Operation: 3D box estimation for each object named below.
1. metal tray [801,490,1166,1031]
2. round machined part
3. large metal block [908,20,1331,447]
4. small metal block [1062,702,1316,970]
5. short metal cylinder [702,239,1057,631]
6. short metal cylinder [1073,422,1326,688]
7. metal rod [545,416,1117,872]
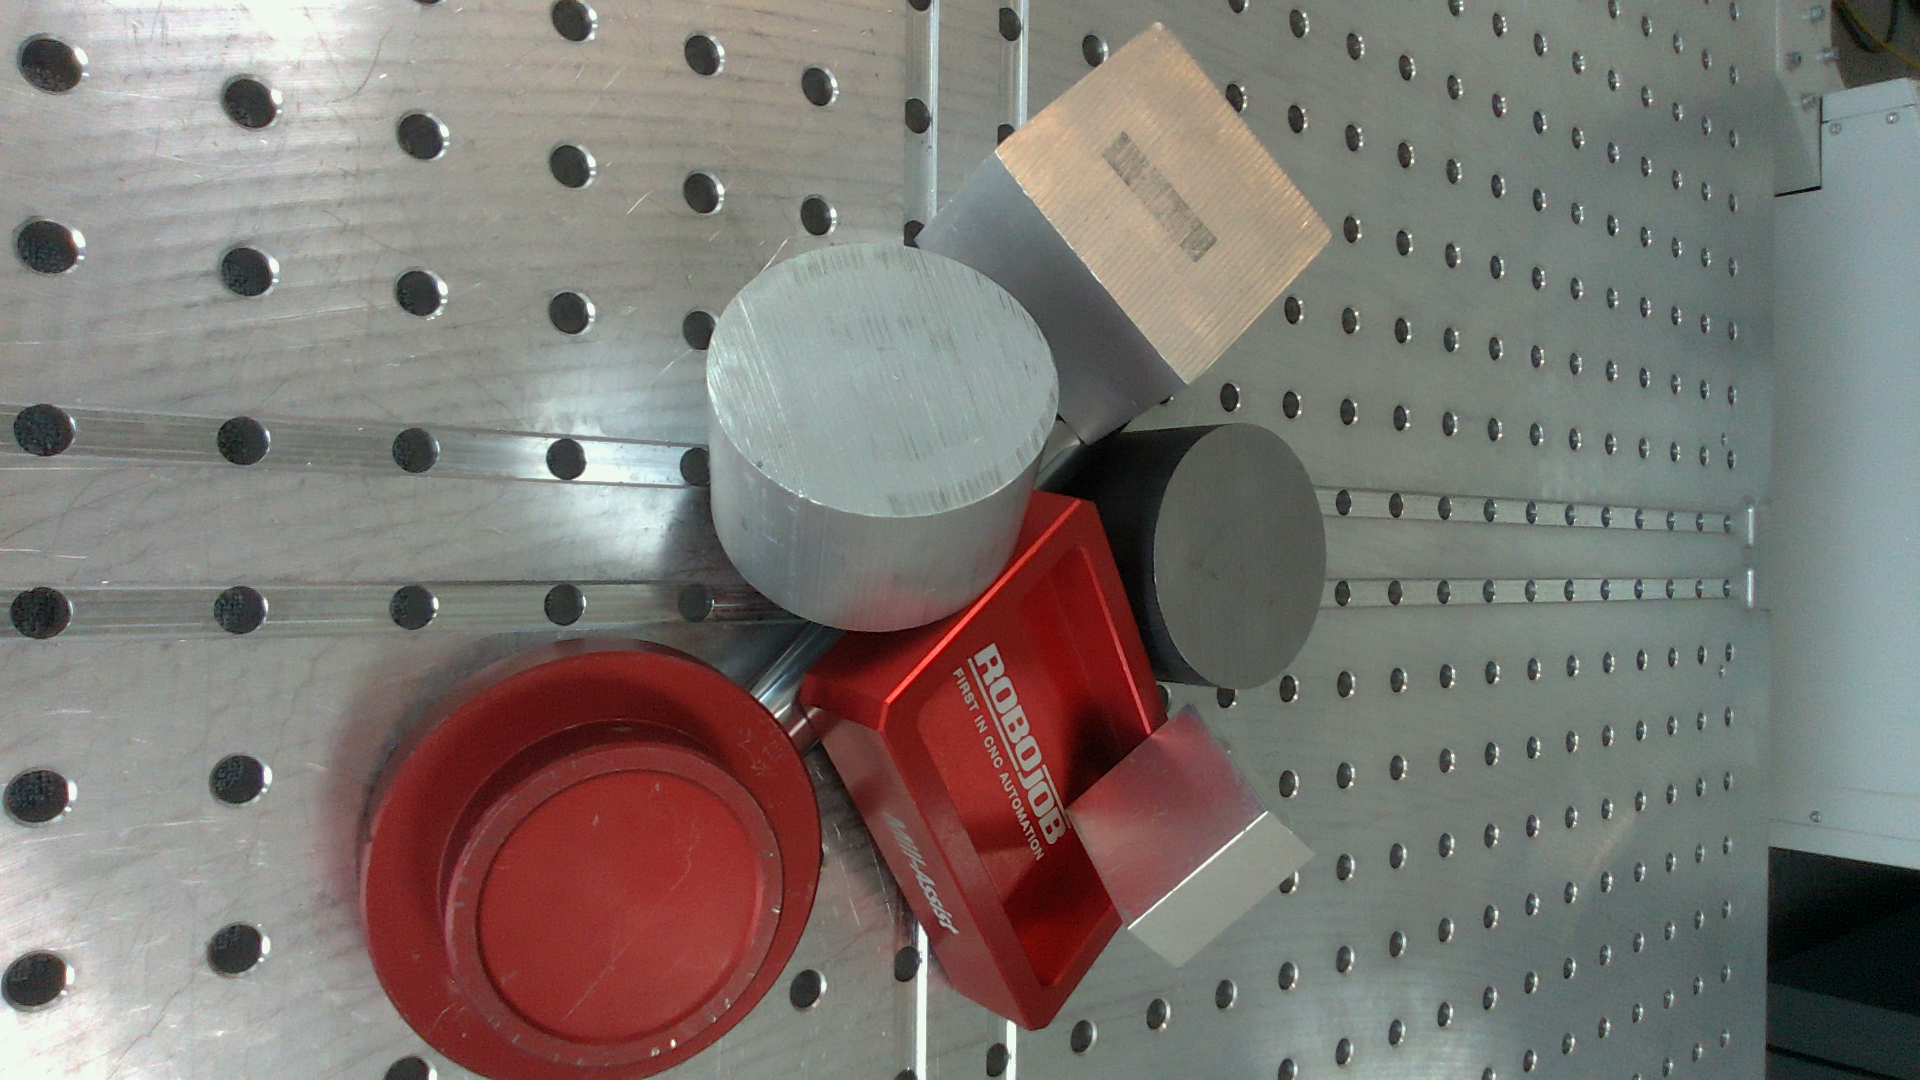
[{"bbox_3d":[0.018,0.061,0.385,0.090,0.030,0.130,-45,129,-30],"label":"metal tray"},{"bbox_3d":[-0.077,0.073,0.299,0.098,0.042,0.098,-3,97,-24],"label":"round machined part"},{"bbox_3d":[0.047,-0.088,0.399,0.080,0.050,0.080,49,59,-6],"label":"large metal block"},{"bbox_3d":[0.064,0.083,0.391,0.050,0.050,0.025,-42,124,8],"label":"small metal block"},{"bbox_3d":[-0.021,-0.025,0.331,0.080,0.050,0.080,4,57,-7],"label":"short metal cylinder"},{"bbox_3d":[0.070,0.004,0.433,0.080,0.050,0.080,0,90,-40],"label":"short metal cylinder"},{"bbox_3d":[0.004,-0.006,0.397,0.301,0.025,0.025,-45,117,-30],"label":"metal rod"}]
